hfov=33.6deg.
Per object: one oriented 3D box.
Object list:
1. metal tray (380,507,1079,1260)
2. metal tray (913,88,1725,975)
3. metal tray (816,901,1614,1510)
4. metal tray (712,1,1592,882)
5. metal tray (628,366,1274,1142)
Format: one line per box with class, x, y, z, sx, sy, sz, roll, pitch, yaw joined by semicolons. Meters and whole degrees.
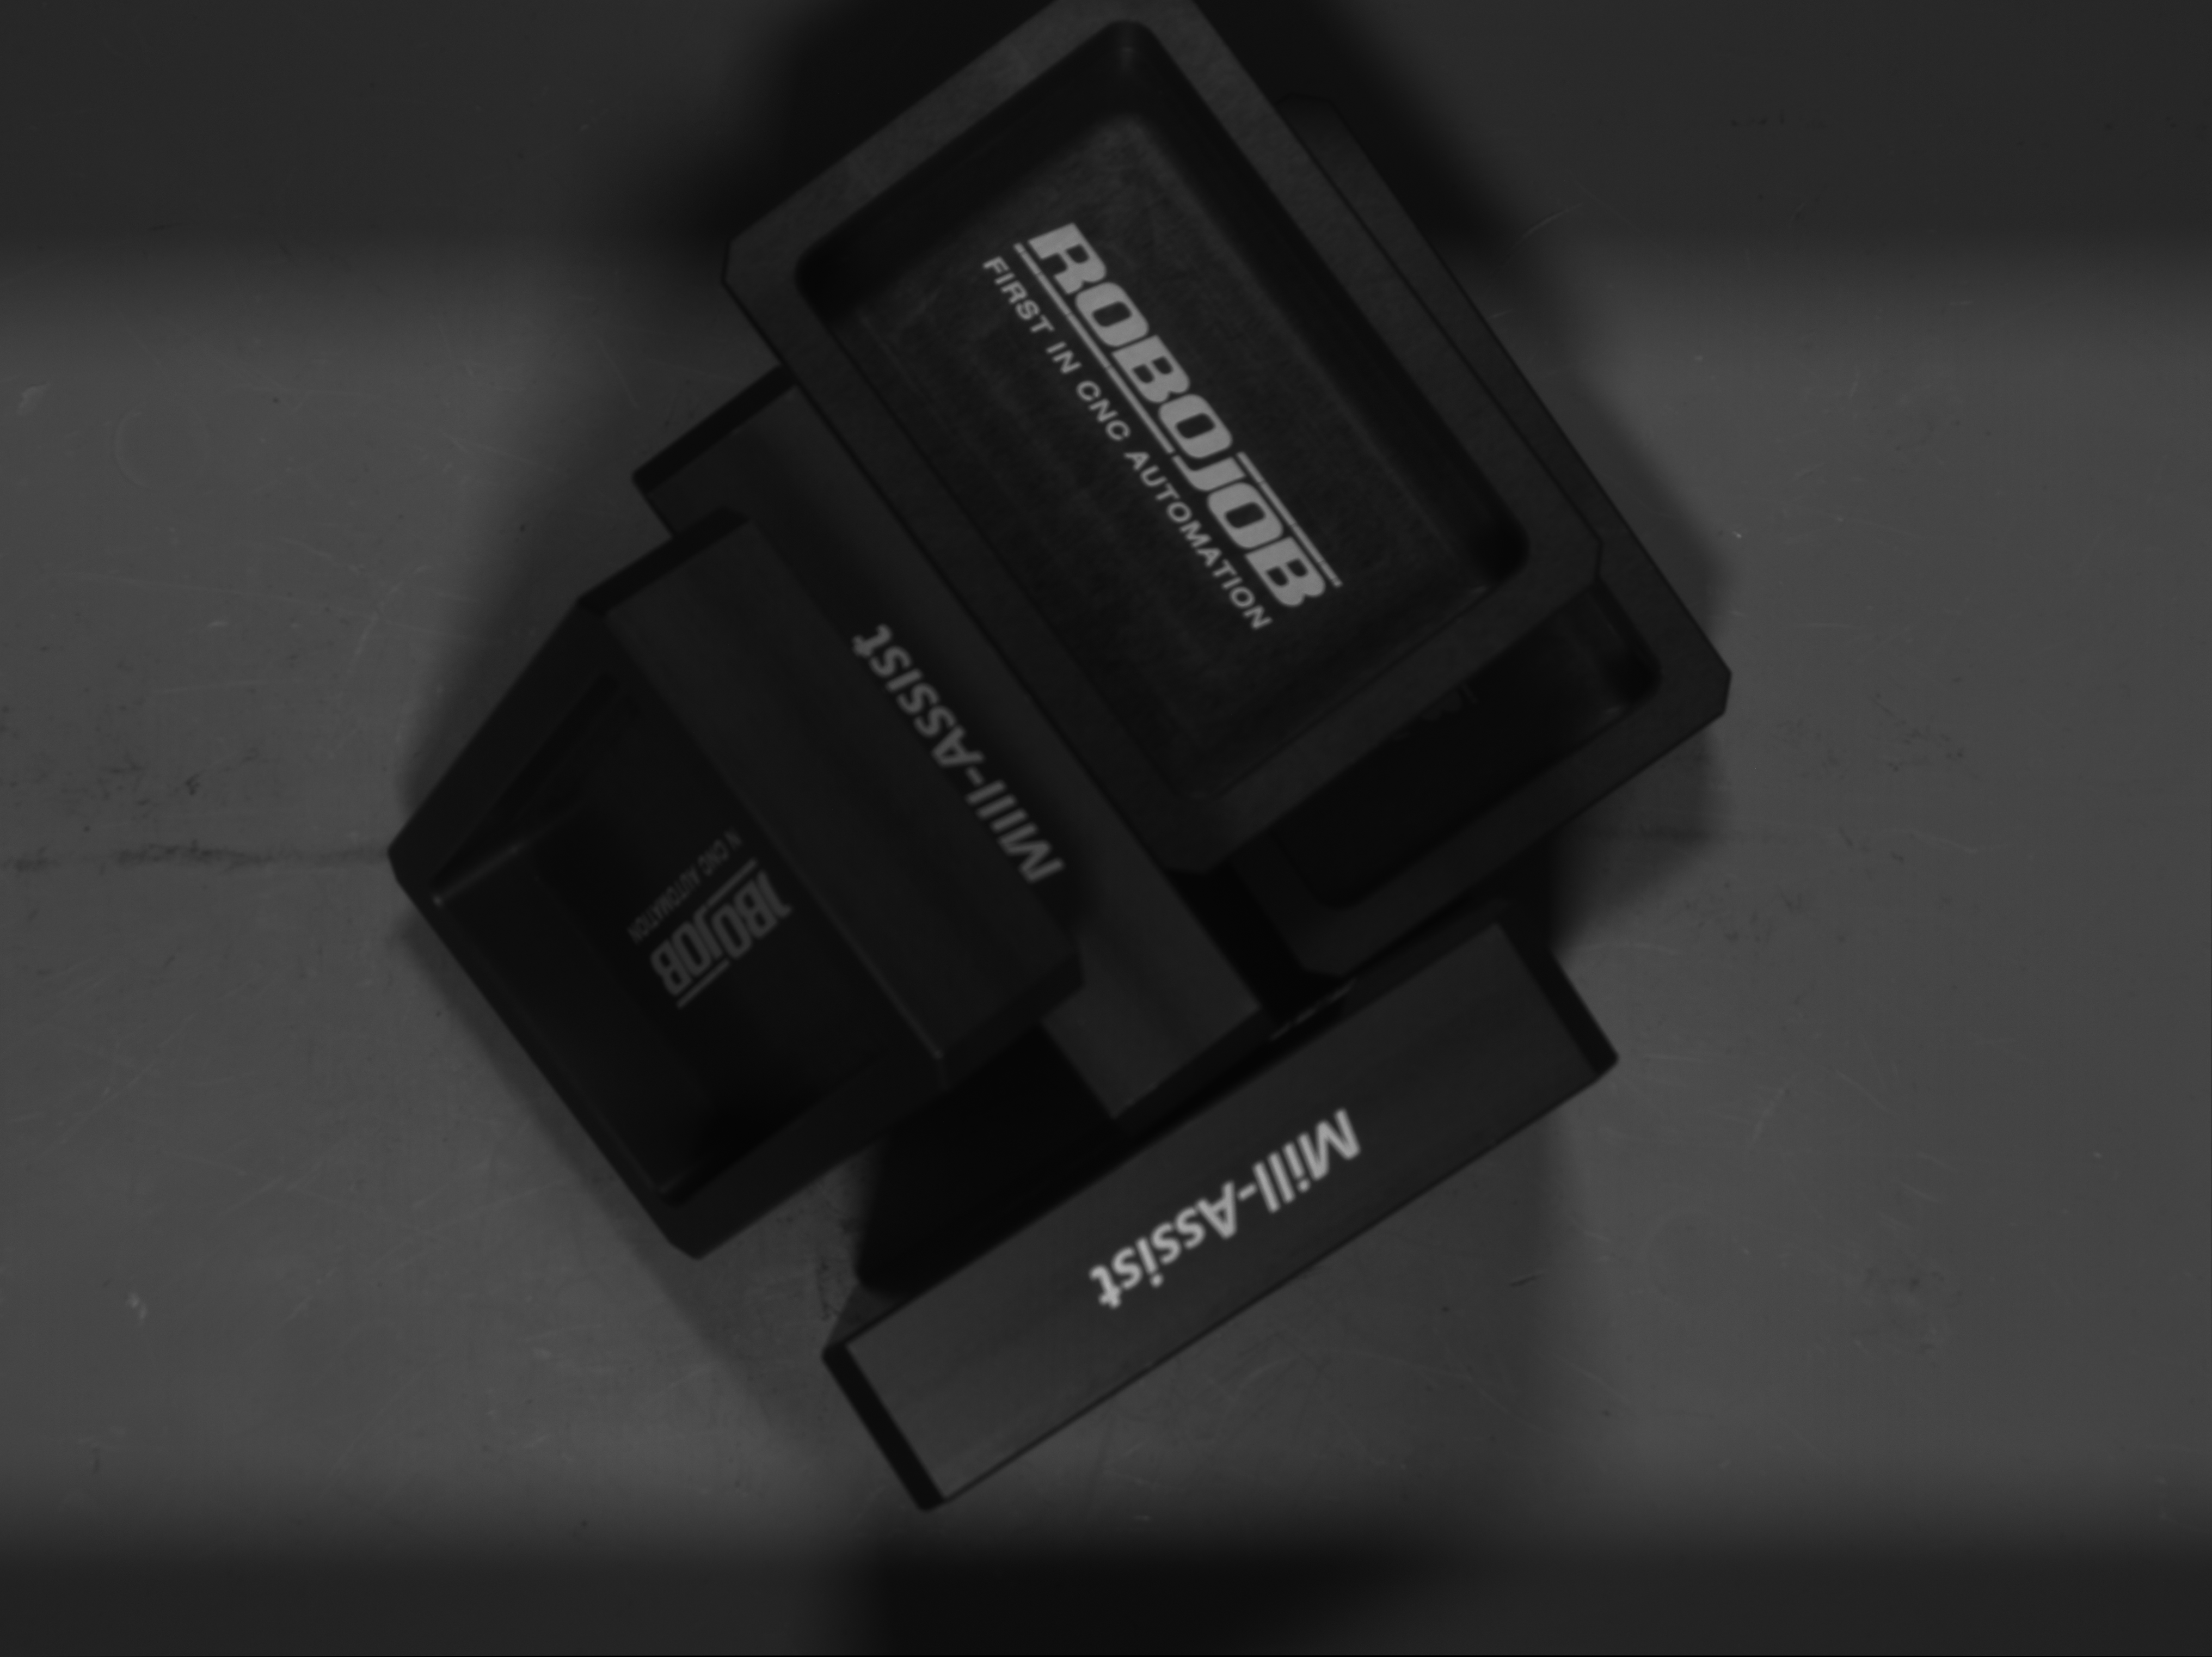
metal tray;-0.065;0.014;0.592;0.030;0.130;0.090;-37;90;-31
metal tray;0.036;-0.051;0.643;0.090;0.030;0.130;-34;89;1
metal tray;0.017;0.059;0.611;0.130;0.090;0.030;-33;90;0
metal tray;0.008;-0.067;0.611;0.090;0.030;0.130;-36;90;0
metal tray;-0.024;-0.011;0.610;0.030;0.090;0.130;-37;90;0
